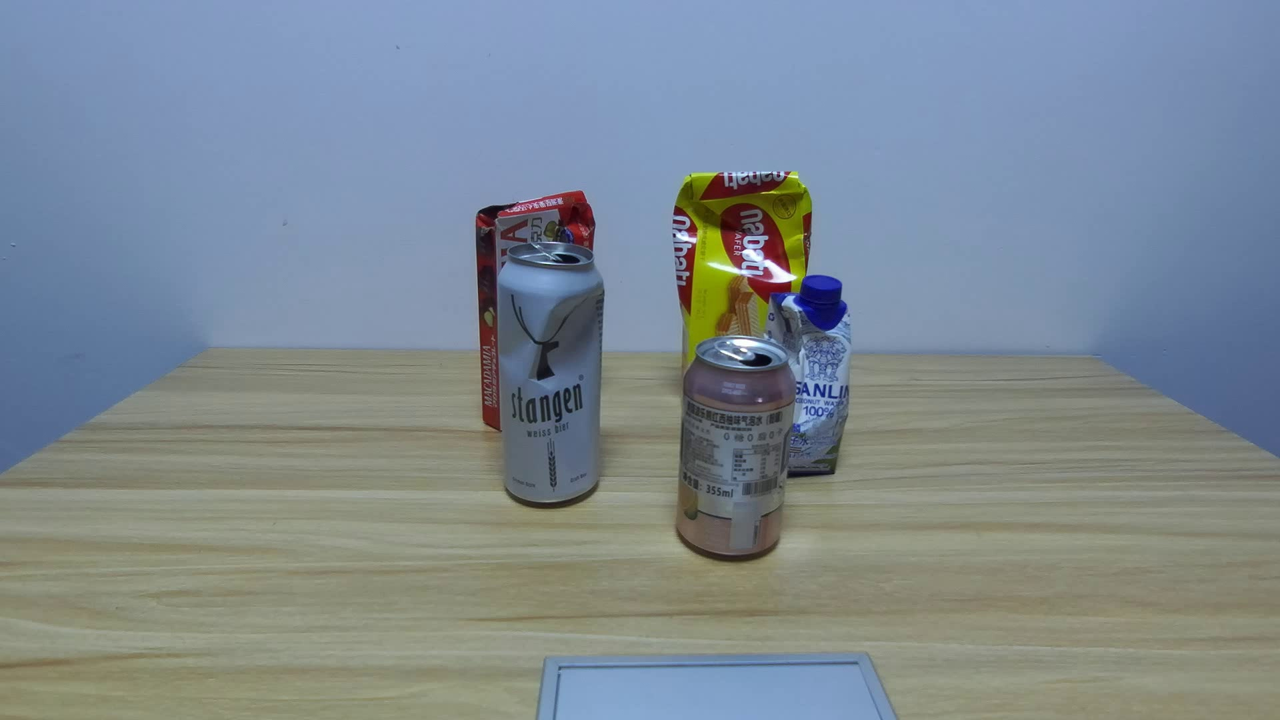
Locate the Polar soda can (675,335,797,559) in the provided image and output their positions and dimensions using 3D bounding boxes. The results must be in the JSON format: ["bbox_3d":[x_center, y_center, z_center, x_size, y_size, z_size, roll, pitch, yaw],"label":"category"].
[{"bbox_3d":[0.057,0.053,0.426,0.067,0.125,0.067,1,18,0],"label":"Polar soda can"}]

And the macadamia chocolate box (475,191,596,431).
[{"bbox_3d":[-0.081,-0.040,0.579,0.103,0.187,0.027,-17,30,-40],"label":"macadamia chocolate box"}]

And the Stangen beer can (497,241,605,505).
[{"bbox_3d":[-0.057,0.010,0.467,0.070,0.173,0.069,0,20,-5],"label":"Stangen beer can"}]

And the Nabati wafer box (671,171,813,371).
[{"bbox_3d":[0.084,-0.053,0.594,0.113,0.205,0.042,-1,19,-2],"label":"Nabati wafer box"}]

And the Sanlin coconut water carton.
[{"bbox_3d":[0.122,0.010,0.523,0.057,0.144,0.068,3,11,-17],"label":"Sanlin coconut water carton"}]
